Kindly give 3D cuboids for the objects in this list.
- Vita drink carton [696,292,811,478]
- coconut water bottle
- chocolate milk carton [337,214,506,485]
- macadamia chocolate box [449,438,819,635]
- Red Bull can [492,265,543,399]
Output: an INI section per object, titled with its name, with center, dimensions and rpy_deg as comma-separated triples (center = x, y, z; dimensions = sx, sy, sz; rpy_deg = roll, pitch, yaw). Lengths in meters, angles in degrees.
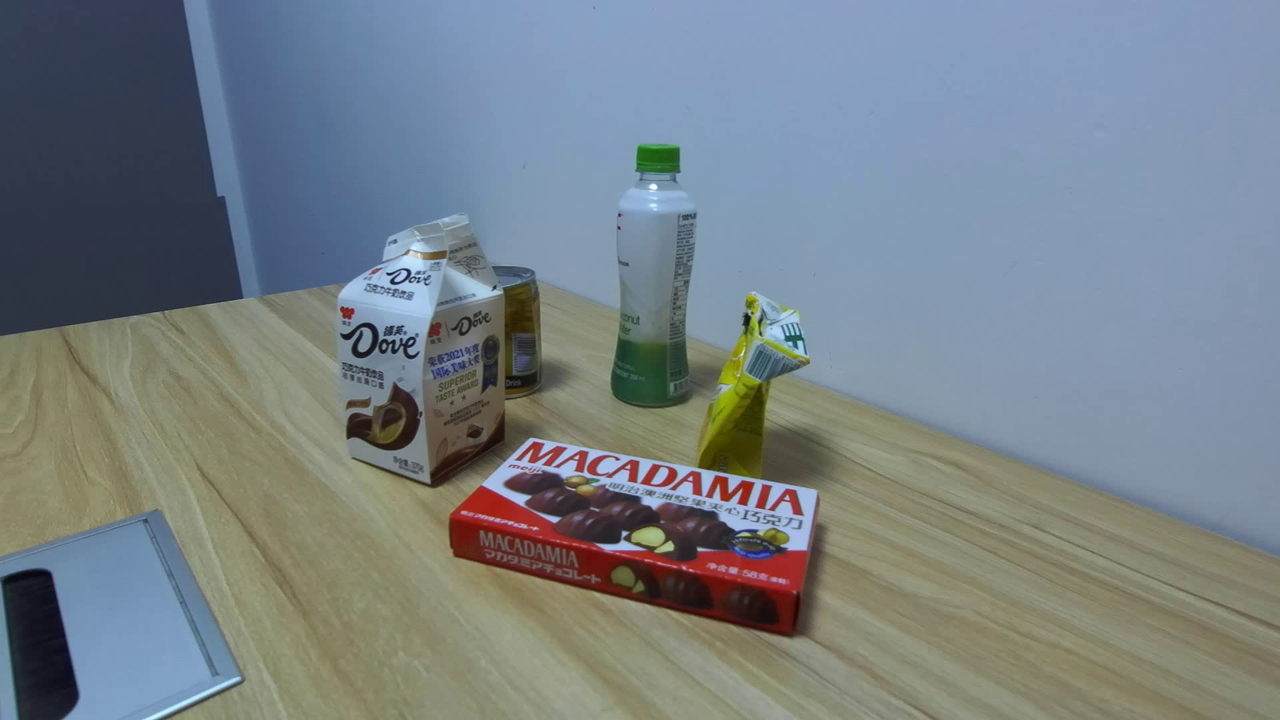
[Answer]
[Vita drink carton]
center = 0.070, 0.020, 0.441
dimensions = 0.042, 0.108, 0.087
rpy_deg = 17, 26, 2
[coconut water bottle]
center = 0.011, -0.061, 0.528
dimensions = 0.063, 0.188, 0.063
rpy_deg = 2, 19, 0
[chocolate milk carton]
center = -0.135, -0.013, 0.442
dimensions = 0.076, 0.155, 0.074
rpy_deg = 13, 23, 26
[macadamia chocolate box]
center = 0.001, 0.087, 0.377
dimensions = 0.177, 0.027, 0.096
rpy_deg = 8, 22, 17
[Red Bull can]
center = -0.111, -0.023, 0.557
dimensions = 0.072, 0.092, 0.072
rpy_deg = 2, 22, -1
